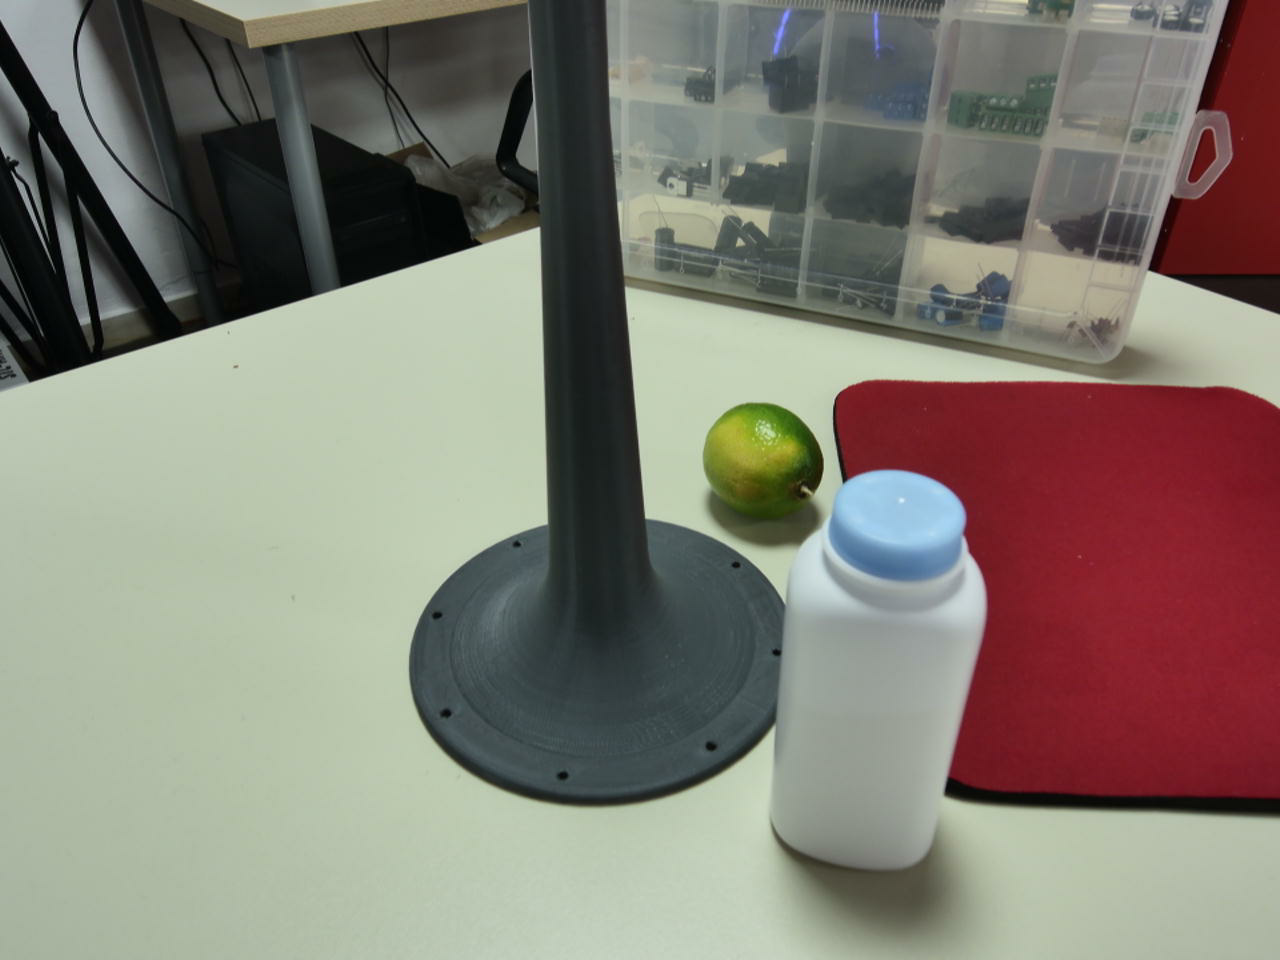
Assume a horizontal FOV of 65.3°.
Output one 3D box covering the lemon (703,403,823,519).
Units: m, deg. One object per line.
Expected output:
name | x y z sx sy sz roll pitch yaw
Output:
lemon | 0.055 -0.009 0.453 0.054 0.050 0.055 7 35 10
